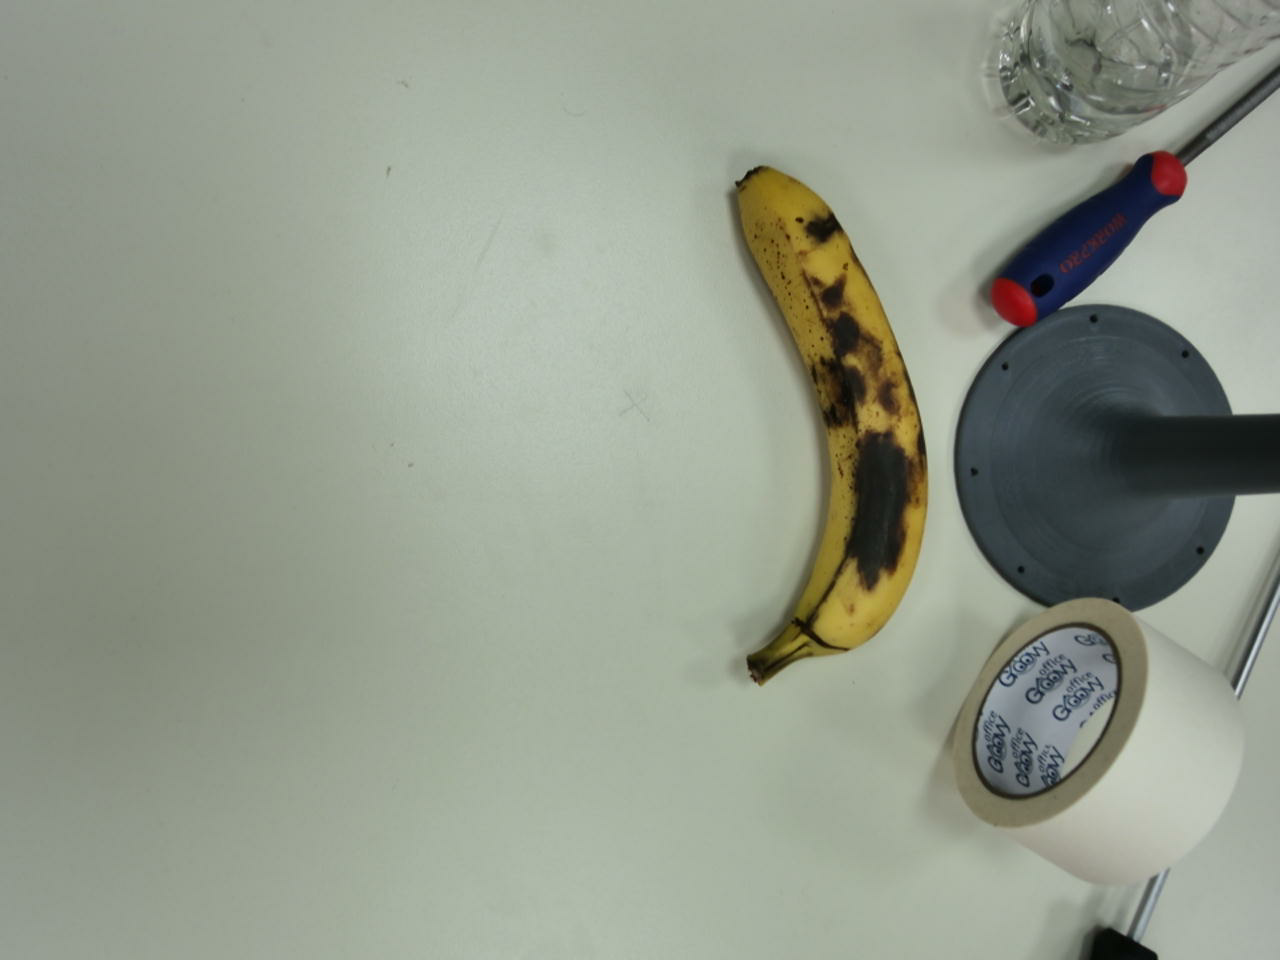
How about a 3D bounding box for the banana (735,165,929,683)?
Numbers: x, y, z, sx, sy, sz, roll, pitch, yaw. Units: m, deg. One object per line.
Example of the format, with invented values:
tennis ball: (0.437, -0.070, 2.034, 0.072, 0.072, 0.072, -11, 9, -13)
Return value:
banana: (0.085, -0.024, 0.436, 0.084, 0.037, 0.222, 0, 90, -11)
